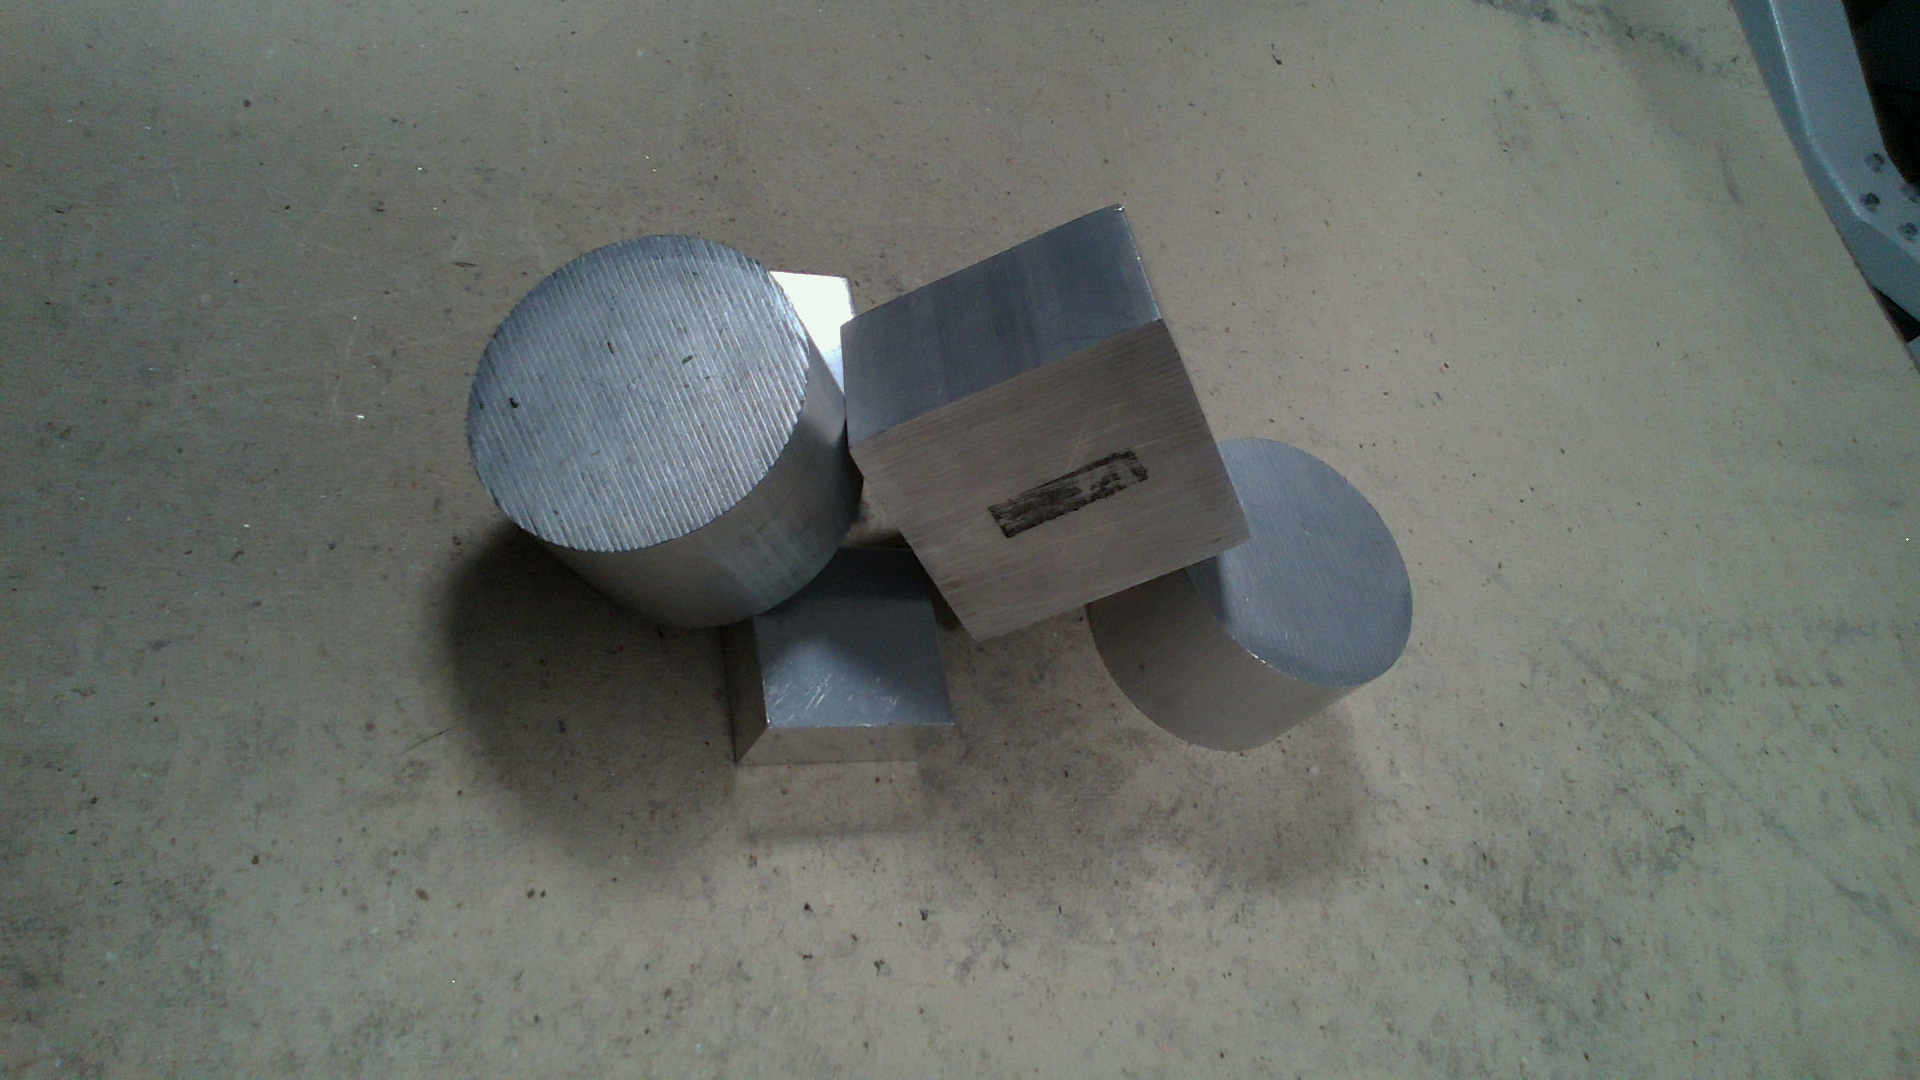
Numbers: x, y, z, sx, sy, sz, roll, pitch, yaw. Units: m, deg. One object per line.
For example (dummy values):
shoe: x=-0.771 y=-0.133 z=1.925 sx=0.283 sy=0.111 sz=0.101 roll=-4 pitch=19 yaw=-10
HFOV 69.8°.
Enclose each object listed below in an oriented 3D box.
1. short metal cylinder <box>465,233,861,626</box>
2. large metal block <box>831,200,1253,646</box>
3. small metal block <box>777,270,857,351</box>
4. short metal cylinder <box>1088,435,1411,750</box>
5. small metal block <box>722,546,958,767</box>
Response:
short metal cylinder: x=-0.068 y=-0.025 z=0.329 sx=0.080 sy=0.050 sz=0.080 roll=-4 pitch=67 yaw=9
large metal block: x=0.022 y=-0.028 z=0.359 sx=0.050 sy=0.080 sz=0.080 roll=-100 pitch=164 yaw=-46
small metal block: x=-0.054 y=-0.049 z=0.391 sx=0.050 sy=0.025 sz=0.050 roll=-1 pitch=62 yaw=-29
short metal cylinder: x=0.085 y=0.016 z=0.410 sx=0.080 sy=0.050 sz=0.080 roll=14 pitch=56 yaw=-21
small metal block: x=-0.032 y=0.030 z=0.354 sx=0.050 sy=0.025 sz=0.050 roll=3 pitch=60 yaw=-27
